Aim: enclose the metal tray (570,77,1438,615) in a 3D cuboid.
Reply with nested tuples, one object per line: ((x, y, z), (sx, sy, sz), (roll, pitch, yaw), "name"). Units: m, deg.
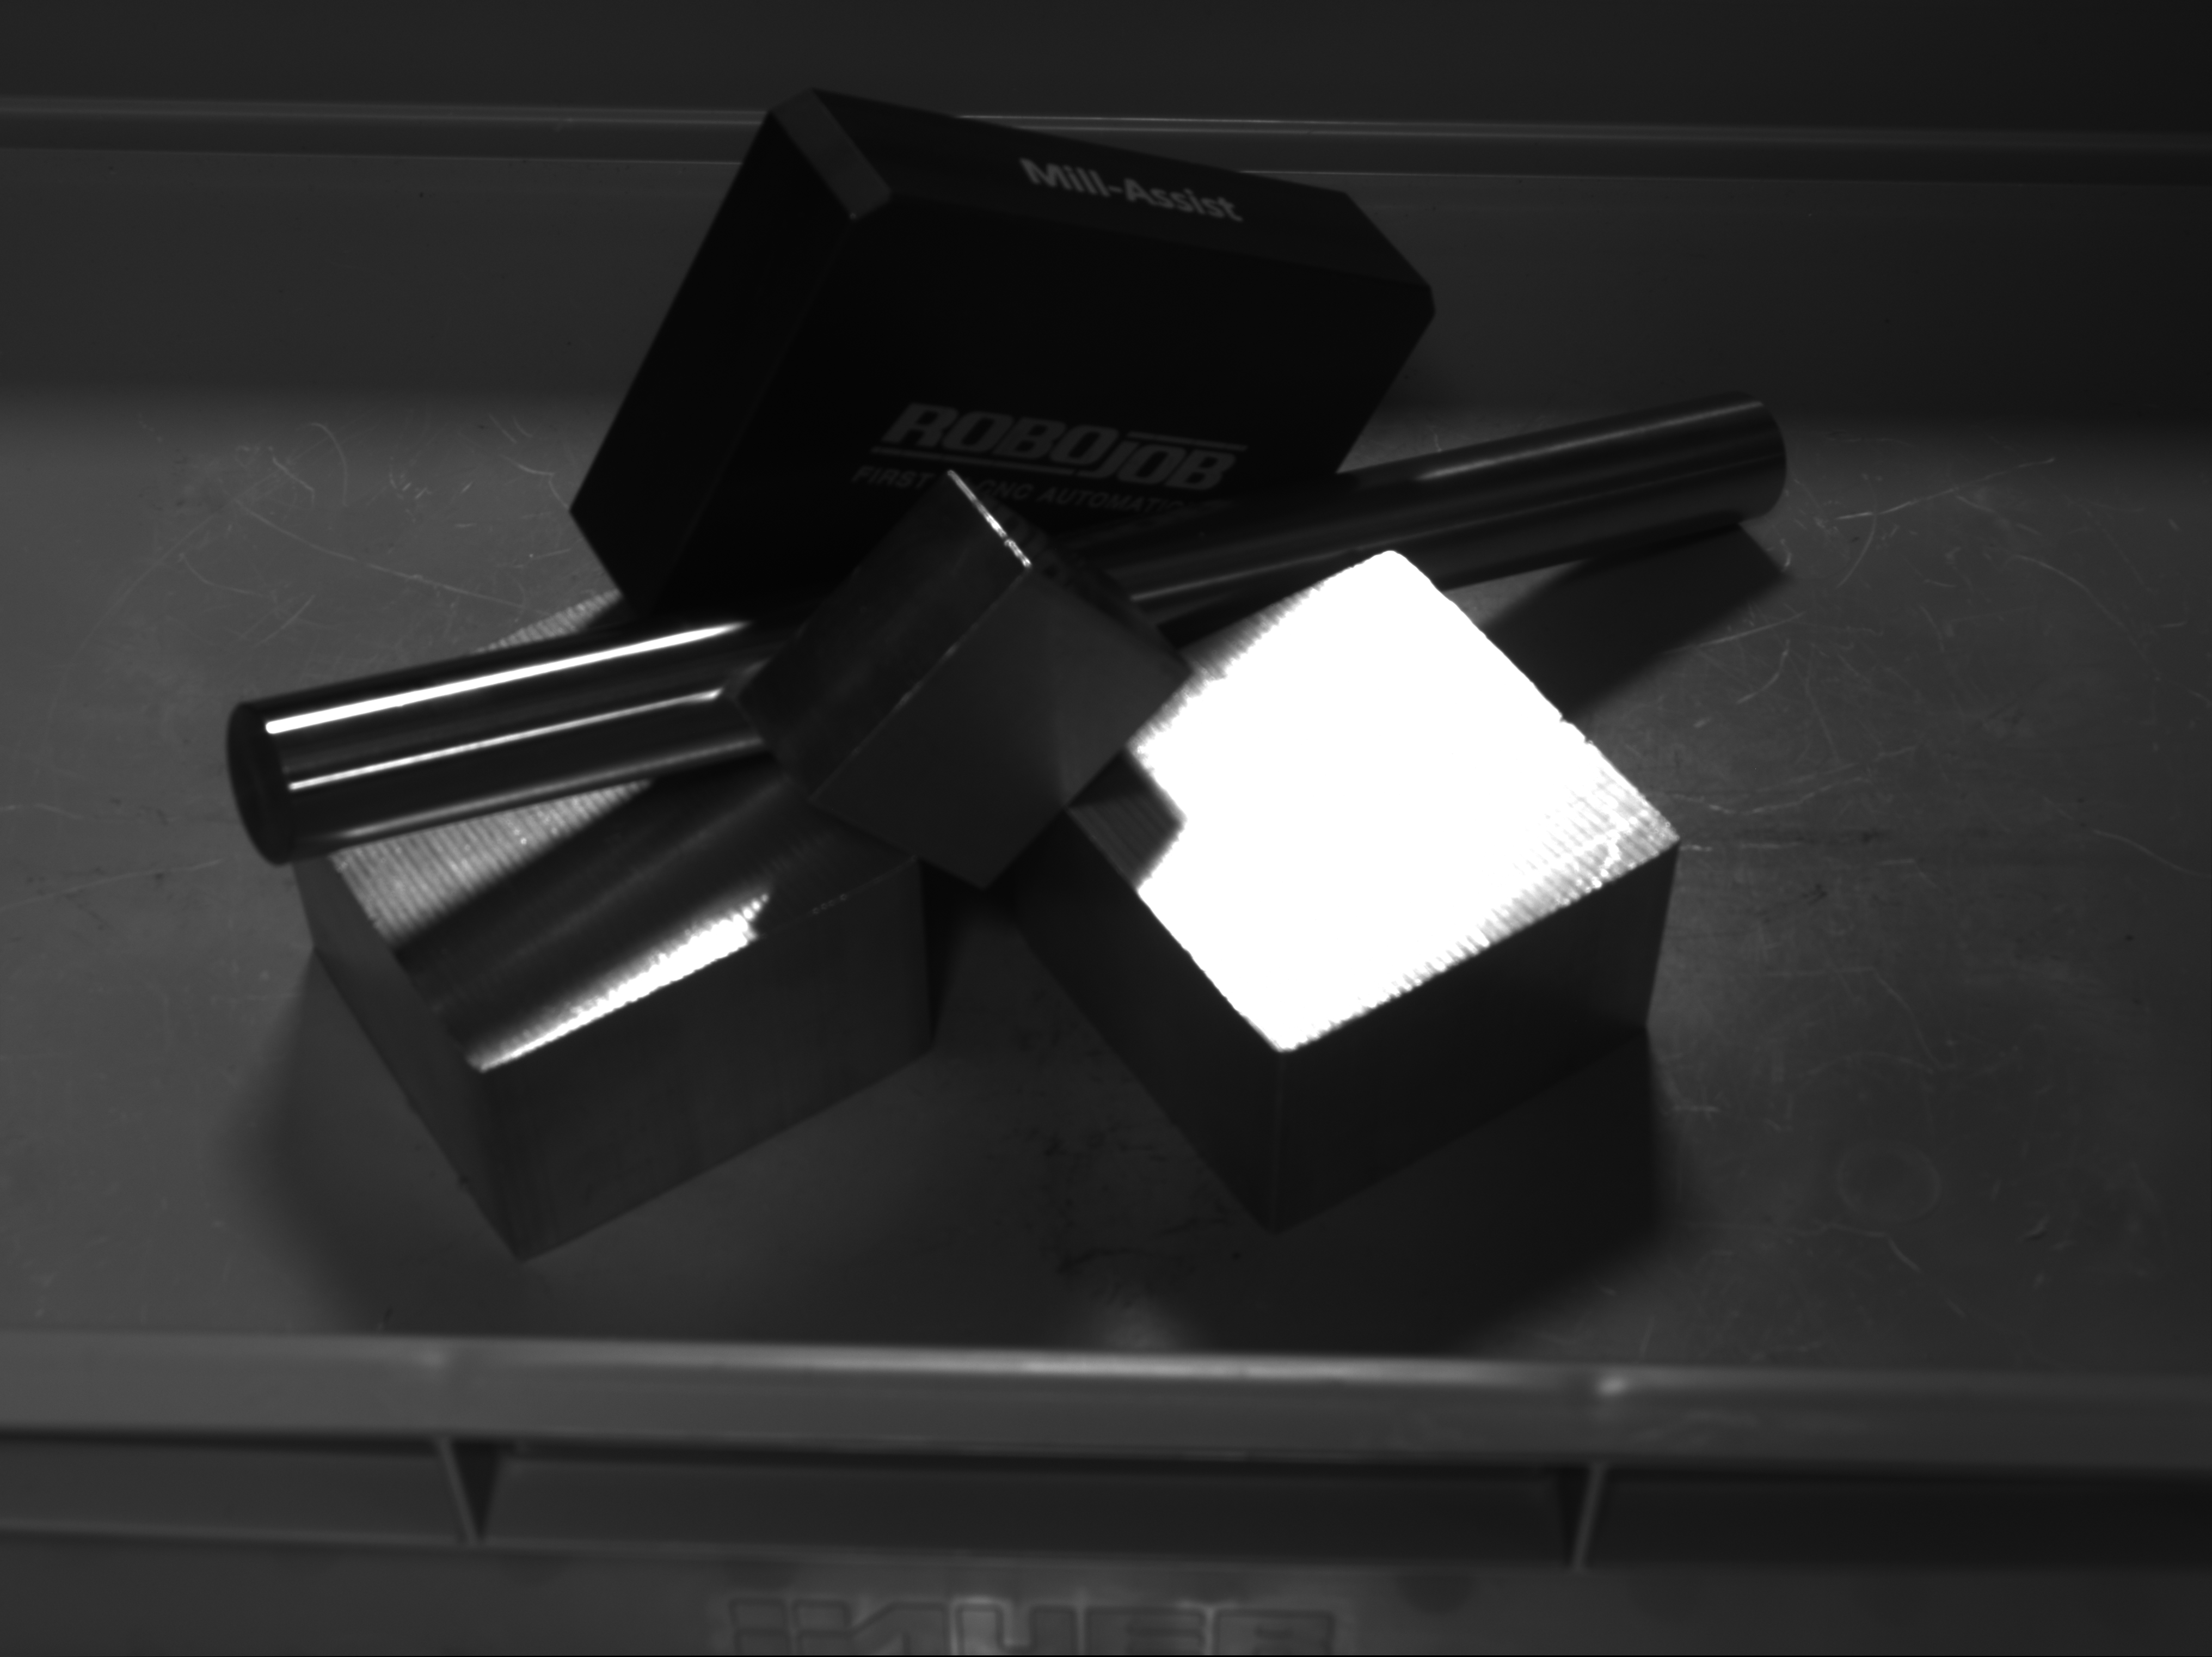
((-0.015, -0.073, 0.625), (0.130, 0.090, 0.030), (2, 41, -42), "metal tray")

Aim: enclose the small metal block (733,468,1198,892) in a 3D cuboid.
((-0.022, -0.022, 0.580), (0.050, 0.050, 0.025), (-46, 55, 11), "small metal block")

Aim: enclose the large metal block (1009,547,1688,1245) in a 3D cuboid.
((0.038, 0.010, 0.616), (0.080, 0.050, 0.080), (-27, 55, -21), "large metal block")

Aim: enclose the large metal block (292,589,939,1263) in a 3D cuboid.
((-0.084, 0.012, 0.611), (0.080, 0.050, 0.080), (-27, 55, -21), "large metal block")

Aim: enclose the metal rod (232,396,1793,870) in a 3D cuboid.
((-0.001, -0.038, 0.625), (0.301, 0.025, 0.025), (-15, 50, -31), "metal rod")
